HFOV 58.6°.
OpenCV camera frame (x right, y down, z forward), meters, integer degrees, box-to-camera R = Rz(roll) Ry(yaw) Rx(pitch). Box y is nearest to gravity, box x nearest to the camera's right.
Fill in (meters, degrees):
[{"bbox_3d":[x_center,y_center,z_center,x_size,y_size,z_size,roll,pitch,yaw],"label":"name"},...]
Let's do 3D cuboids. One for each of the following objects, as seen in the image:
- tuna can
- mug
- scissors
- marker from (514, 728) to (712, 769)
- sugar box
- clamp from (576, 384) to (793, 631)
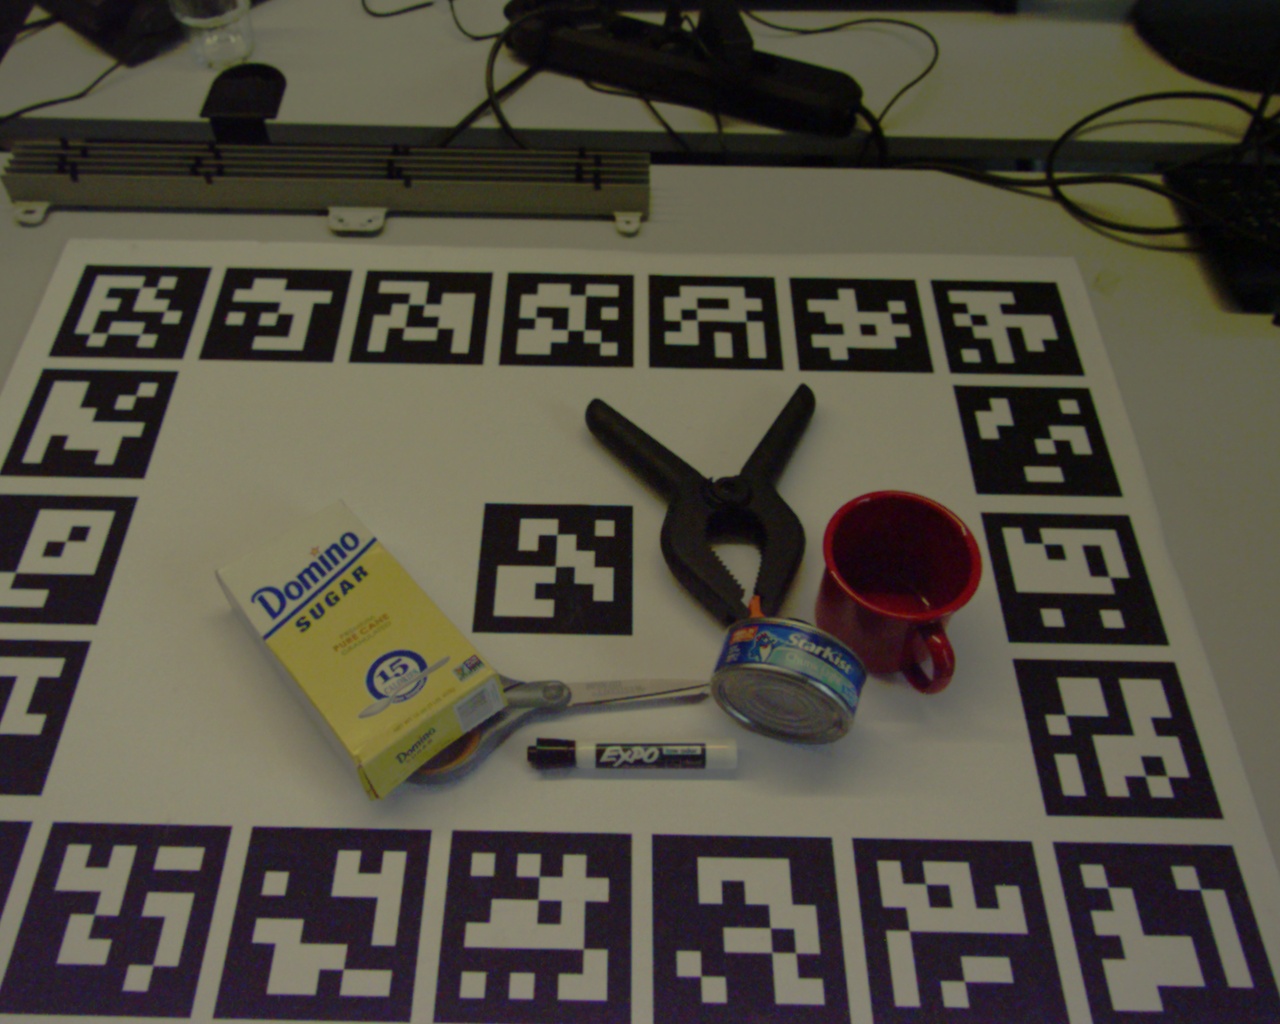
[{"bbox_3d":[0.086,0.099,0.694,0.086,0.085,0.033,15,56,8],"label":"tuna can"},{"bbox_3d":[0.144,0.059,0.729,0.092,0.081,0.118,-23,56,-17],"label":"mug"},{"bbox_3d":[-0.063,0.109,0.720,0.202,0.016,0.088,-8,52,-9],"label":"scissors"},{"bbox_3d":[-0.017,0.145,0.699,0.121,0.019,0.020,-3,56,-3],"label":"marker"},{"bbox_3d":[-0.169,0.081,0.719,0.092,0.045,0.178,-32,56,-22],"label":"sugar box"},{"bbox_3d":[0.051,0.000,0.804,0.165,0.036,0.204,-8,57,-8],"label":"clamp"}]
